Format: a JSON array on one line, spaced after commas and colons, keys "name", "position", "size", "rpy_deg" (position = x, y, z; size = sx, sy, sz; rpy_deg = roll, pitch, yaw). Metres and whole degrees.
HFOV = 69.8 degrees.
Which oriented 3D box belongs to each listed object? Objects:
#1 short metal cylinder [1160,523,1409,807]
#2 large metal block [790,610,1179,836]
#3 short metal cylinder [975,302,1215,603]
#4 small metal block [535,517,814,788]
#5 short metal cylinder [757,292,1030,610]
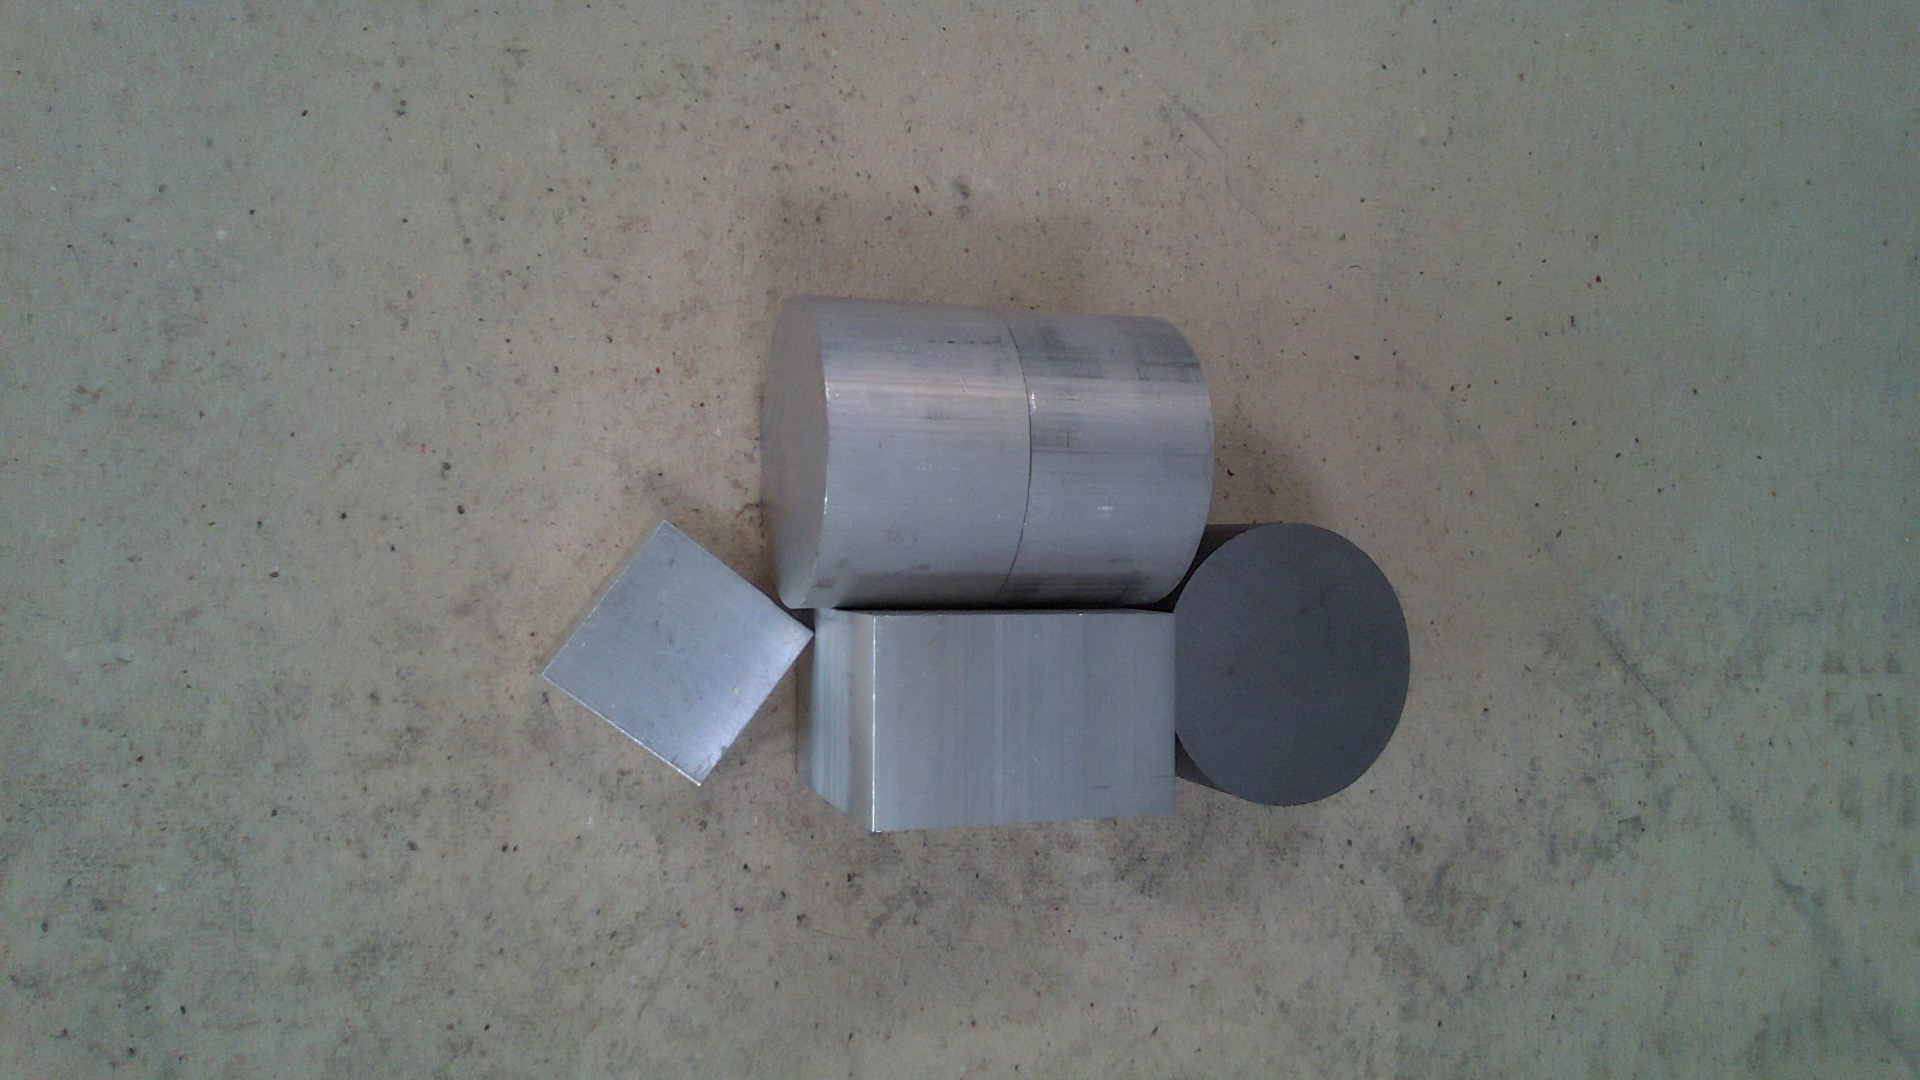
[{"name": "short metal cylinder", "position": [0.085, 0.035, 0.411], "size": [0.080, 0.050, 0.080], "rpy_deg": [0, 90, -20]}, {"name": "large metal block", "position": [0.003, 0.043, 0.366], "size": [0.080, 0.080, 0.050], "rpy_deg": [1, 90, -20]}, {"name": "short metal cylinder", "position": [0.027, -0.023, 0.375], "size": [0.050, 0.080, 0.080], "rpy_deg": [1, 90, -20]}, {"name": "small metal block", "position": [-0.076, 0.029, 0.366], "size": [0.050, 0.025, 0.050], "rpy_deg": [39, 78, -16]}, {"name": "short metal cylinder", "position": [-0.020, -0.022, 0.357], "size": [0.050, 0.080, 0.080], "rpy_deg": [1, 90, -20]}]
